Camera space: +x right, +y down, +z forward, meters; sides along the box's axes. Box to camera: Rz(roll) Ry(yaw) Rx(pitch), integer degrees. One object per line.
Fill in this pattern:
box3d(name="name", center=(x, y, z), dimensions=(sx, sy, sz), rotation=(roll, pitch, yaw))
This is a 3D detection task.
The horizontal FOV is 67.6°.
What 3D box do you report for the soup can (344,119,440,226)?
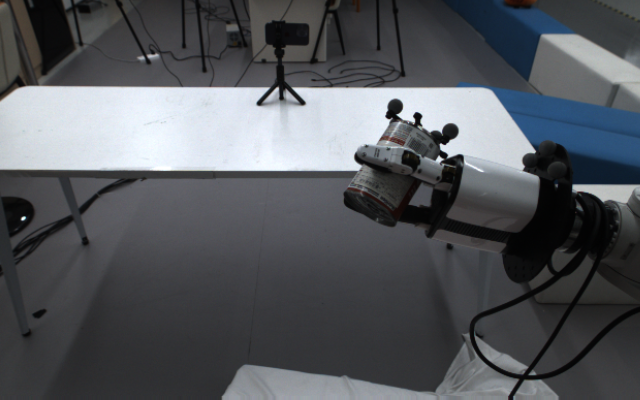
box3d(name="soup can", center=(0.082, -0.033, 0.544), dimensions=(0.067, 0.067, 0.101), rotation=(27, 76, 31))
